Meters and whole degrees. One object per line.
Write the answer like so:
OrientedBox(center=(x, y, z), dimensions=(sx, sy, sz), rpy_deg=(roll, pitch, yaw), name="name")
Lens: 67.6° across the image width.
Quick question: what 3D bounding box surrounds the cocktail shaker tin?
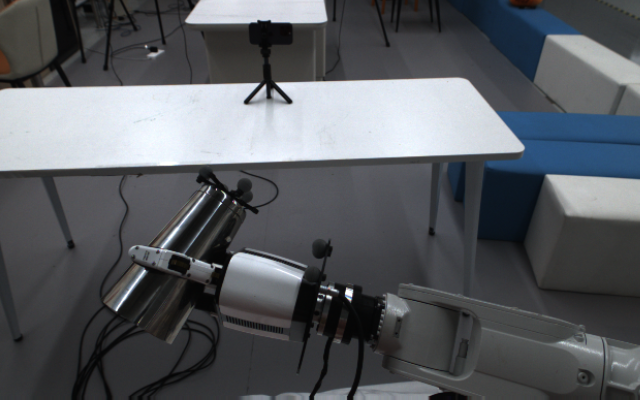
OrientedBox(center=(-0.159, 0.066, 0.565), dimensions=(0.093, 0.093, 0.170), rpy_deg=(22, 68, 26), name="cocktail shaker tin")
